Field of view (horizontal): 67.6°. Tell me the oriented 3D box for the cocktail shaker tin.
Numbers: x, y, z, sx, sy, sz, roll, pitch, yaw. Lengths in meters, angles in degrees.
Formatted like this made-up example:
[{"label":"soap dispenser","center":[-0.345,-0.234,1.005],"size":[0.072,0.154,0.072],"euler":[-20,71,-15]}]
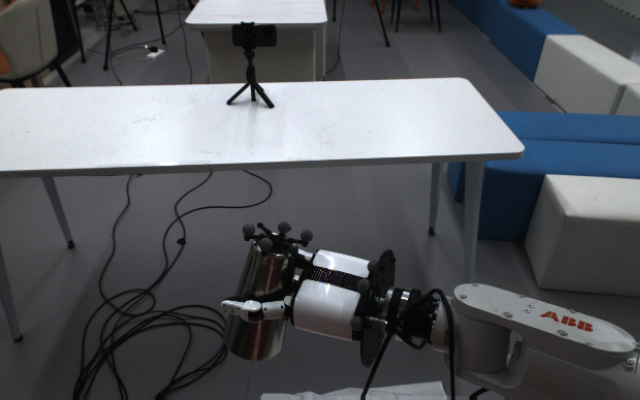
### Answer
[{"label":"cocktail shaker tin","center":[-0.080,0.134,0.702],"size":[0.093,0.170,0.093],"euler":[12,24,-5]}]
